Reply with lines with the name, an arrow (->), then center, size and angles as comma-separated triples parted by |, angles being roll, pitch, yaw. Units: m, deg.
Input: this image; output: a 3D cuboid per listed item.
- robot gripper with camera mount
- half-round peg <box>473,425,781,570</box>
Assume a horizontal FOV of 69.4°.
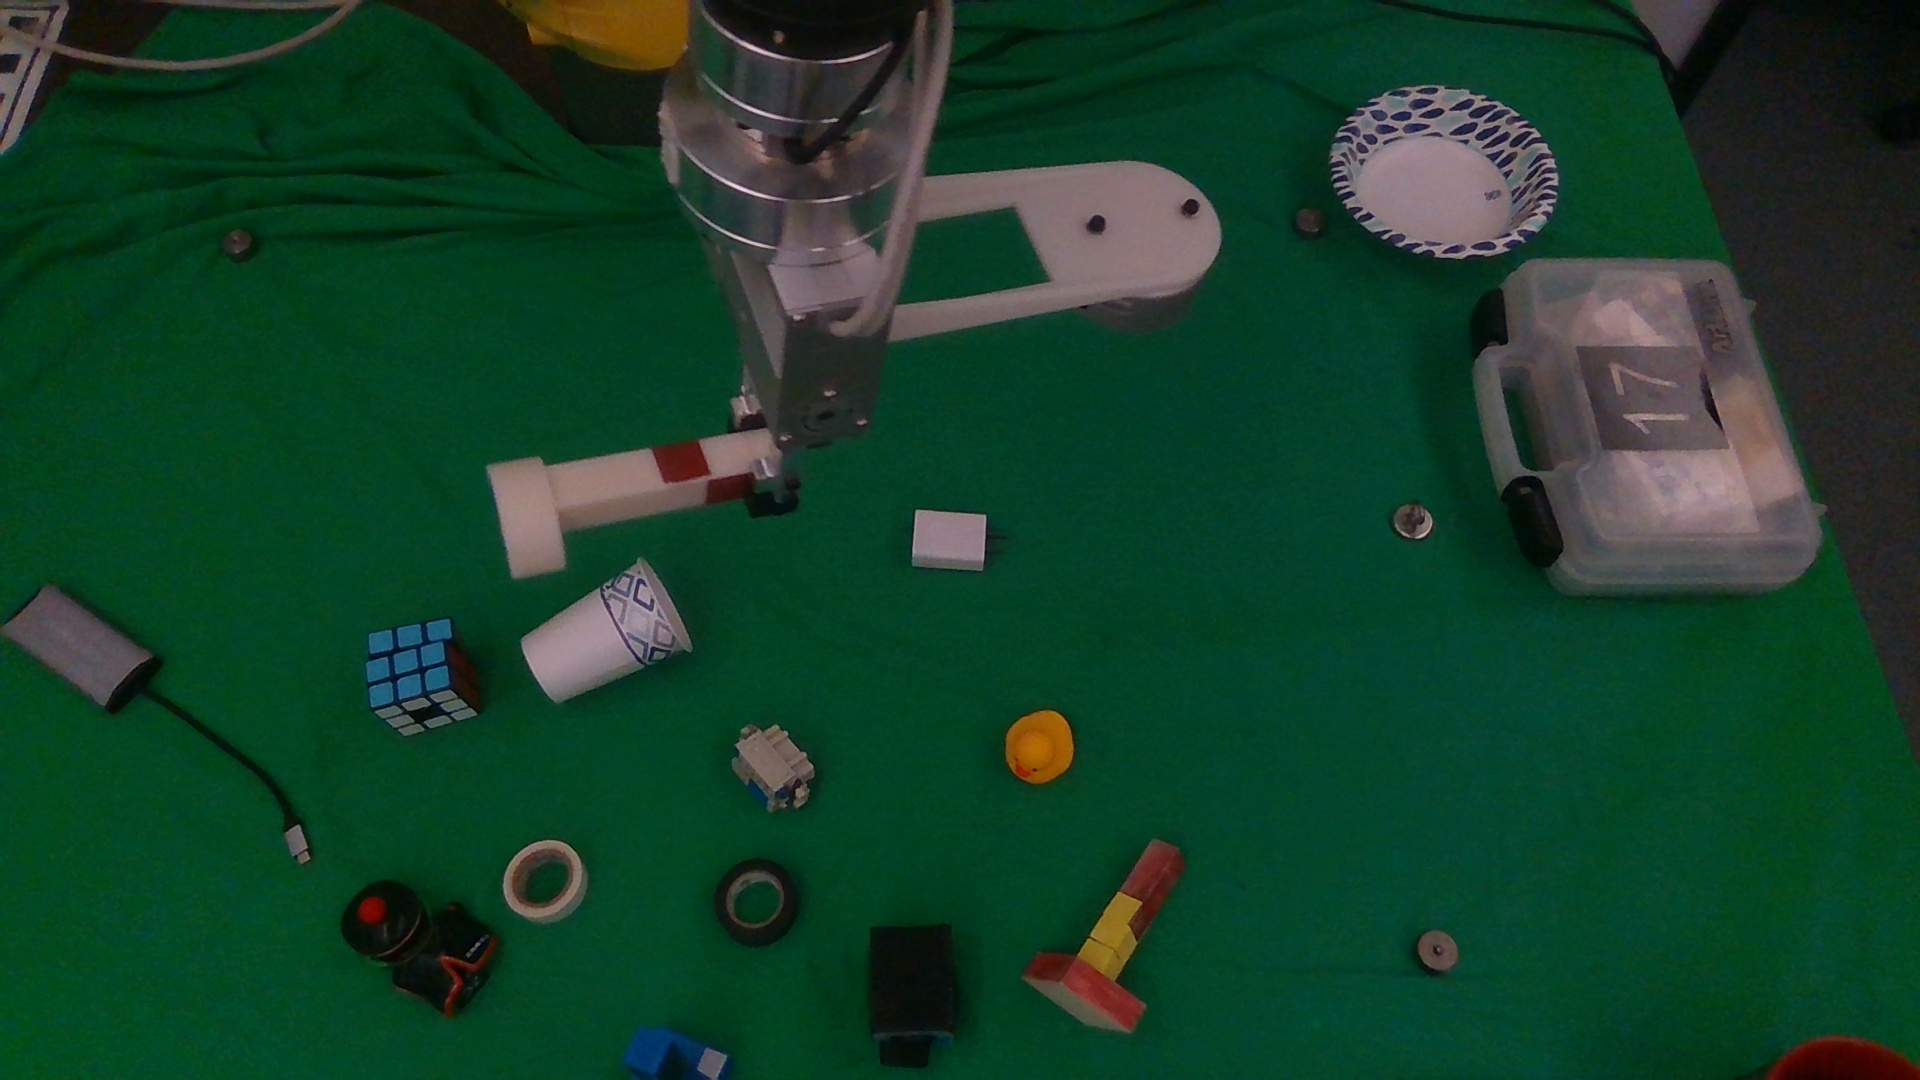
robot gripper with camera mount -> 0.004, -0.094, 0.546 | 0.193, 0.159, 0.119 | -14, 63, -19
half-round peg -> -0.132, -0.026, 0.564 | 0.122, 0.031, 0.054 | -11, 63, -18
